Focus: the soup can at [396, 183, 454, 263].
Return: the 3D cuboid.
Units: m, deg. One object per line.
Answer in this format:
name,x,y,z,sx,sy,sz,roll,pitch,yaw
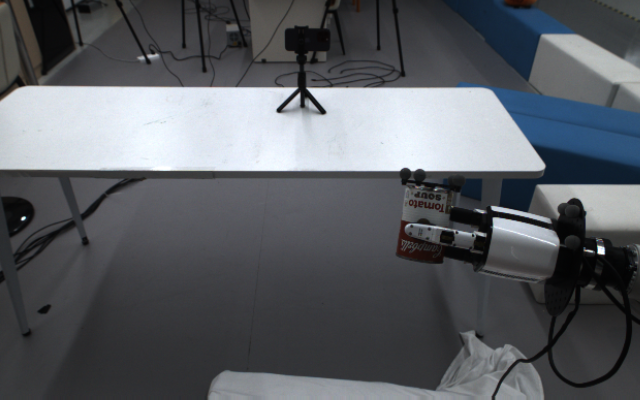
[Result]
soup can,0.149,0.031,0.682,0.067,0.101,0.067,7,4,0
